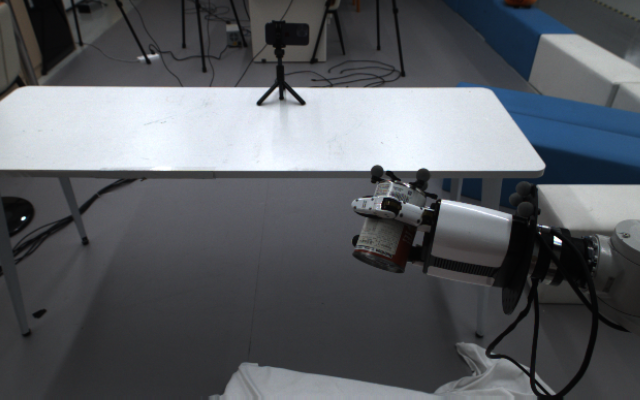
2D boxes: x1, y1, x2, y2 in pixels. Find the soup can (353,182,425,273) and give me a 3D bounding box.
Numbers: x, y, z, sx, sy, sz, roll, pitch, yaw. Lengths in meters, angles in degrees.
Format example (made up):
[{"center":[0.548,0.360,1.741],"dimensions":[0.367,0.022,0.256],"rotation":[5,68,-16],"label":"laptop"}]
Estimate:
[{"center":[0.091,0.033,0.614],"dimensions":[0.067,0.067,0.101],"rotation":[15,74,18],"label":"soup can"}]
